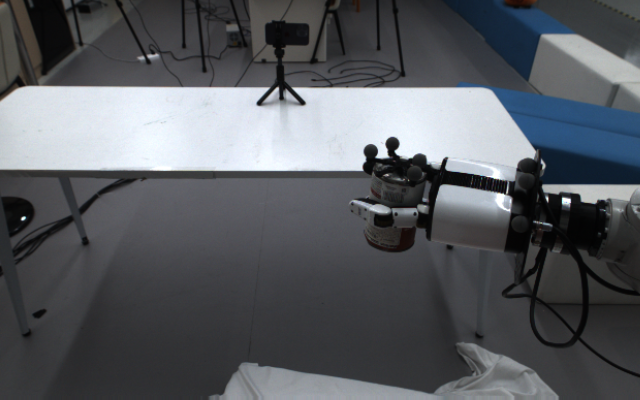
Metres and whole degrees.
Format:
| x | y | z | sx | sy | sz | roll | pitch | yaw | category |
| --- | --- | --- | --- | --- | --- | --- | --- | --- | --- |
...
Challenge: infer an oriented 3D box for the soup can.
| x | y | z | sx | sy | sz | roll | pitch | yaw | category |
| --- | --- | --- | --- | --- | --- | --- | --- | --- | --- |
| 0.095 | 0.006 | 0.615 | 0.067 | 0.101 | 0.067 | 4 | 30 | -2 | soup can |
